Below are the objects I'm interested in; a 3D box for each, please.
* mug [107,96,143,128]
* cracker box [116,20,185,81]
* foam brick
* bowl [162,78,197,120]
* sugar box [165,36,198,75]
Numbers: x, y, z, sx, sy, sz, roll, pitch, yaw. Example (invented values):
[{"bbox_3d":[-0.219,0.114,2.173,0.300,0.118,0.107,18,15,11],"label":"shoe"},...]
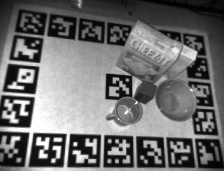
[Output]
[{"bbox_3d":[0.040,0.094,0.721,0.118,0.081,0.093,-5,64,-12],"label":"mug"},{"bbox_3d":[0.119,-0.105,0.741,0.164,0.213,0.072,32,66,0],"label":"cracker box"},{"bbox_3d":[0.120,0.015,0.777,0.053,0.078,0.051,18,67,-4],"label":"foam brick"},{"bbox_3d":[0.241,0.052,0.787,0.162,0.055,0.161,4,71,-11],"label":"bowl"},{"bbox_3d":[0.225,-0.103,0.783,0.093,0.176,0.045,24,68,-2],"label":"sugar box"}]
